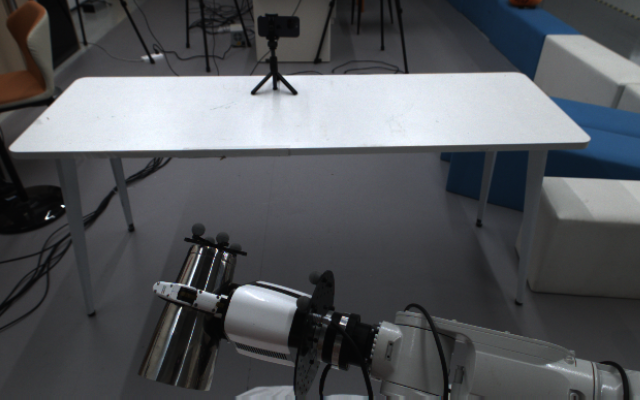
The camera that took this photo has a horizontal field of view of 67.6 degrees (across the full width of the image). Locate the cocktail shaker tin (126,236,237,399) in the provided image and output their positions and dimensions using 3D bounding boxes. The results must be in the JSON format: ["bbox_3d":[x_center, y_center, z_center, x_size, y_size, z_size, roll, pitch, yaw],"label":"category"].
[{"bbox_3d":[-0.164,0.151,0.633,0.093,0.093,0.170,10,71,11],"label":"cocktail shaker tin"}]
